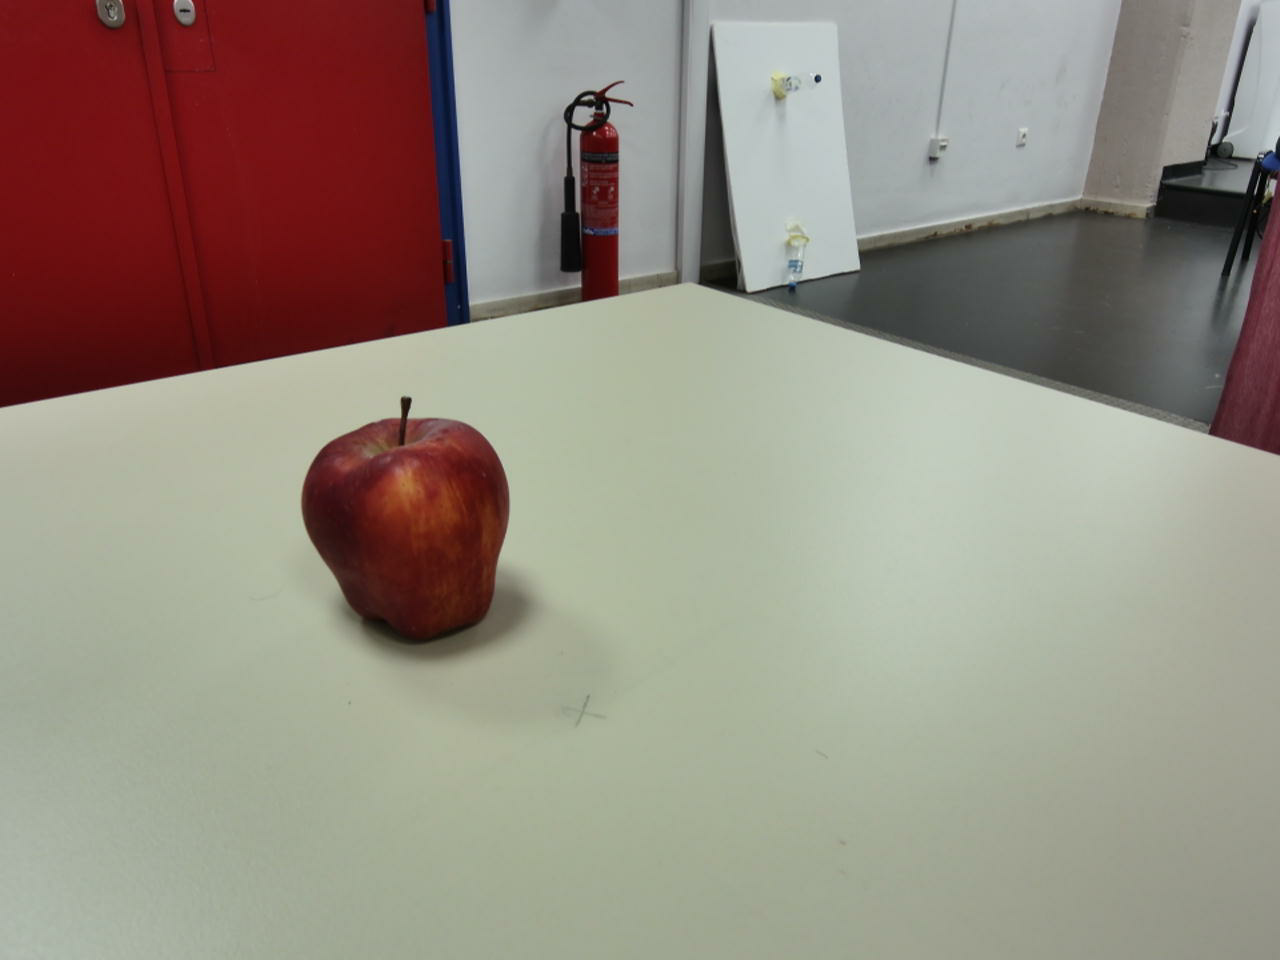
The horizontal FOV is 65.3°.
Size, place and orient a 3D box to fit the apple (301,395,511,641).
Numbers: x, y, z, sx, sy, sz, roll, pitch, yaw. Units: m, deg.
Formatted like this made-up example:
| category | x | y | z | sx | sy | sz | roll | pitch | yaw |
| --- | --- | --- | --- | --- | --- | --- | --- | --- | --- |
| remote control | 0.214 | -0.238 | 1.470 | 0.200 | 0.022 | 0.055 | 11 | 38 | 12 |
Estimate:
| category | x | y | z | sx | sy | sz | roll | pitch | yaw |
| --- | --- | --- | --- | --- | --- | --- | --- | --- | --- |
| apple | -0.090 | 0.012 | 0.390 | 0.083 | 0.090 | 0.083 | 0 | 23 | 0 |
